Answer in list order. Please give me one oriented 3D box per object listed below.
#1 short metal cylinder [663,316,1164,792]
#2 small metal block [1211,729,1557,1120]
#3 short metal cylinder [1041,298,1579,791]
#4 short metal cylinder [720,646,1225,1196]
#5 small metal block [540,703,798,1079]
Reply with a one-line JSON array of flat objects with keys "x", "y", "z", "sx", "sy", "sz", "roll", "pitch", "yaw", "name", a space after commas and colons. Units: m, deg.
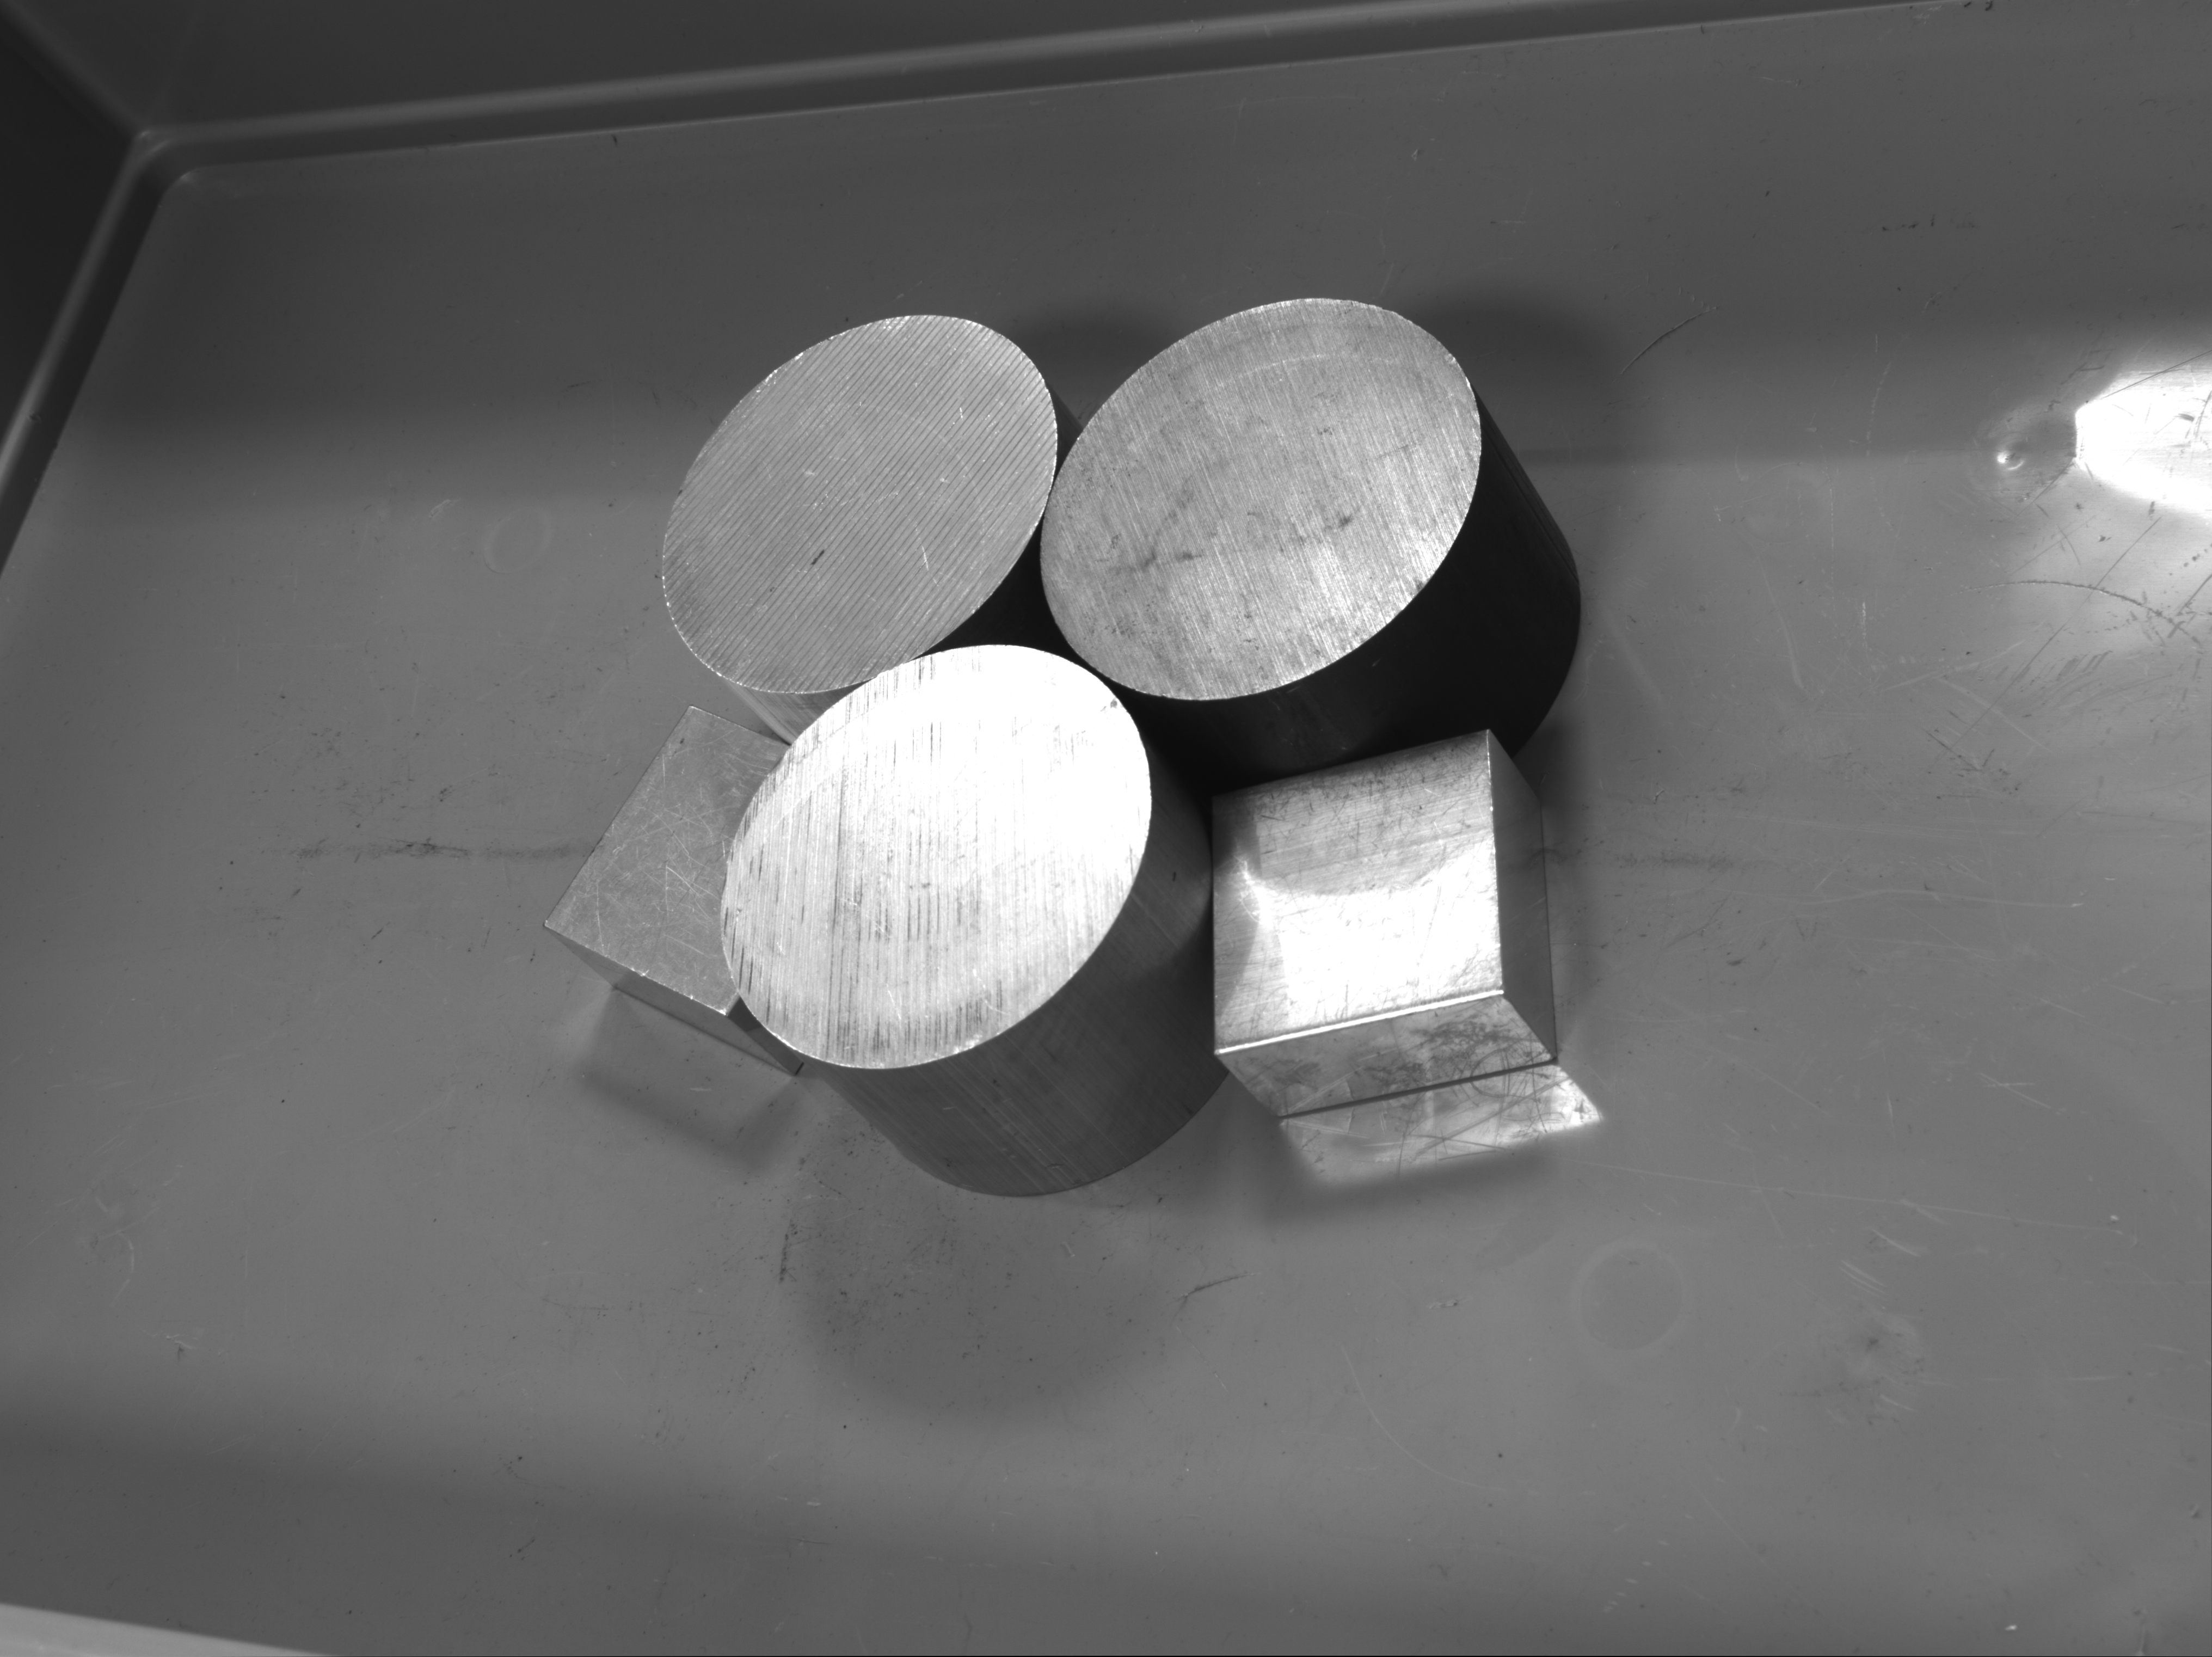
[{"x": -0.034, "y": -0.047, "z": 0.675, "sx": 0.080, "sy": 0.050, "sz": 0.080, "roll": -14, "pitch": 56, "yaw": 21, "name": "short metal cylinder"}, {"x": 0.046, "y": 0.016, "z": 0.610, "sx": 0.050, "sy": 0.025, "sz": 0.050, "roll": -13, "pitch": 56, "yaw": 21, "name": "small metal block"}, {"x": 0.036, "y": -0.044, "z": 0.636, "sx": 0.080, "sy": 0.050, "sz": 0.080, "roll": -14, "pitch": 56, "yaw": 21, "name": "short metal cylinder"}, {"x": -0.019, "y": 0.016, "z": 0.628, "sx": 0.080, "sy": 0.050, "sz": 0.080, "roll": -14, "pitch": 56, "yaw": 21, "name": "short metal cylinder"}, {"x": -0.067, "y": 0.011, "z": 0.674, "sx": 0.050, "sy": 0.025, "sz": 0.050, "roll": 23, "pitch": 74, "yaw": 36, "name": "small metal block"}]
